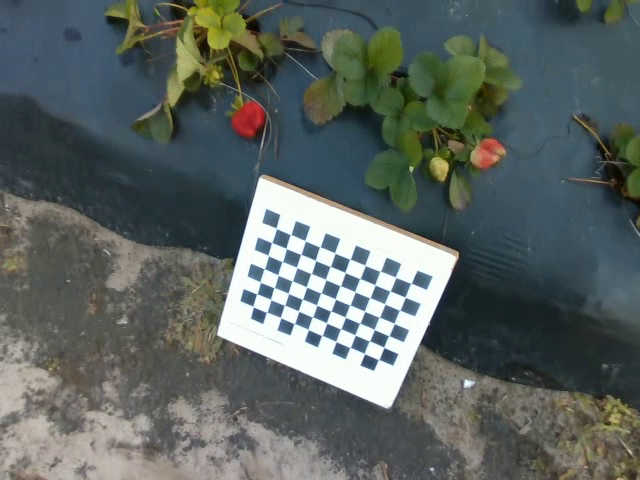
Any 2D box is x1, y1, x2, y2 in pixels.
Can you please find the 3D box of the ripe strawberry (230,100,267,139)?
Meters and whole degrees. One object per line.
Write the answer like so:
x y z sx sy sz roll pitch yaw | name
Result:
-0.028 -0.043 0.281 0.013 0.015 0.017 14 -49 -41 | ripe strawberry
